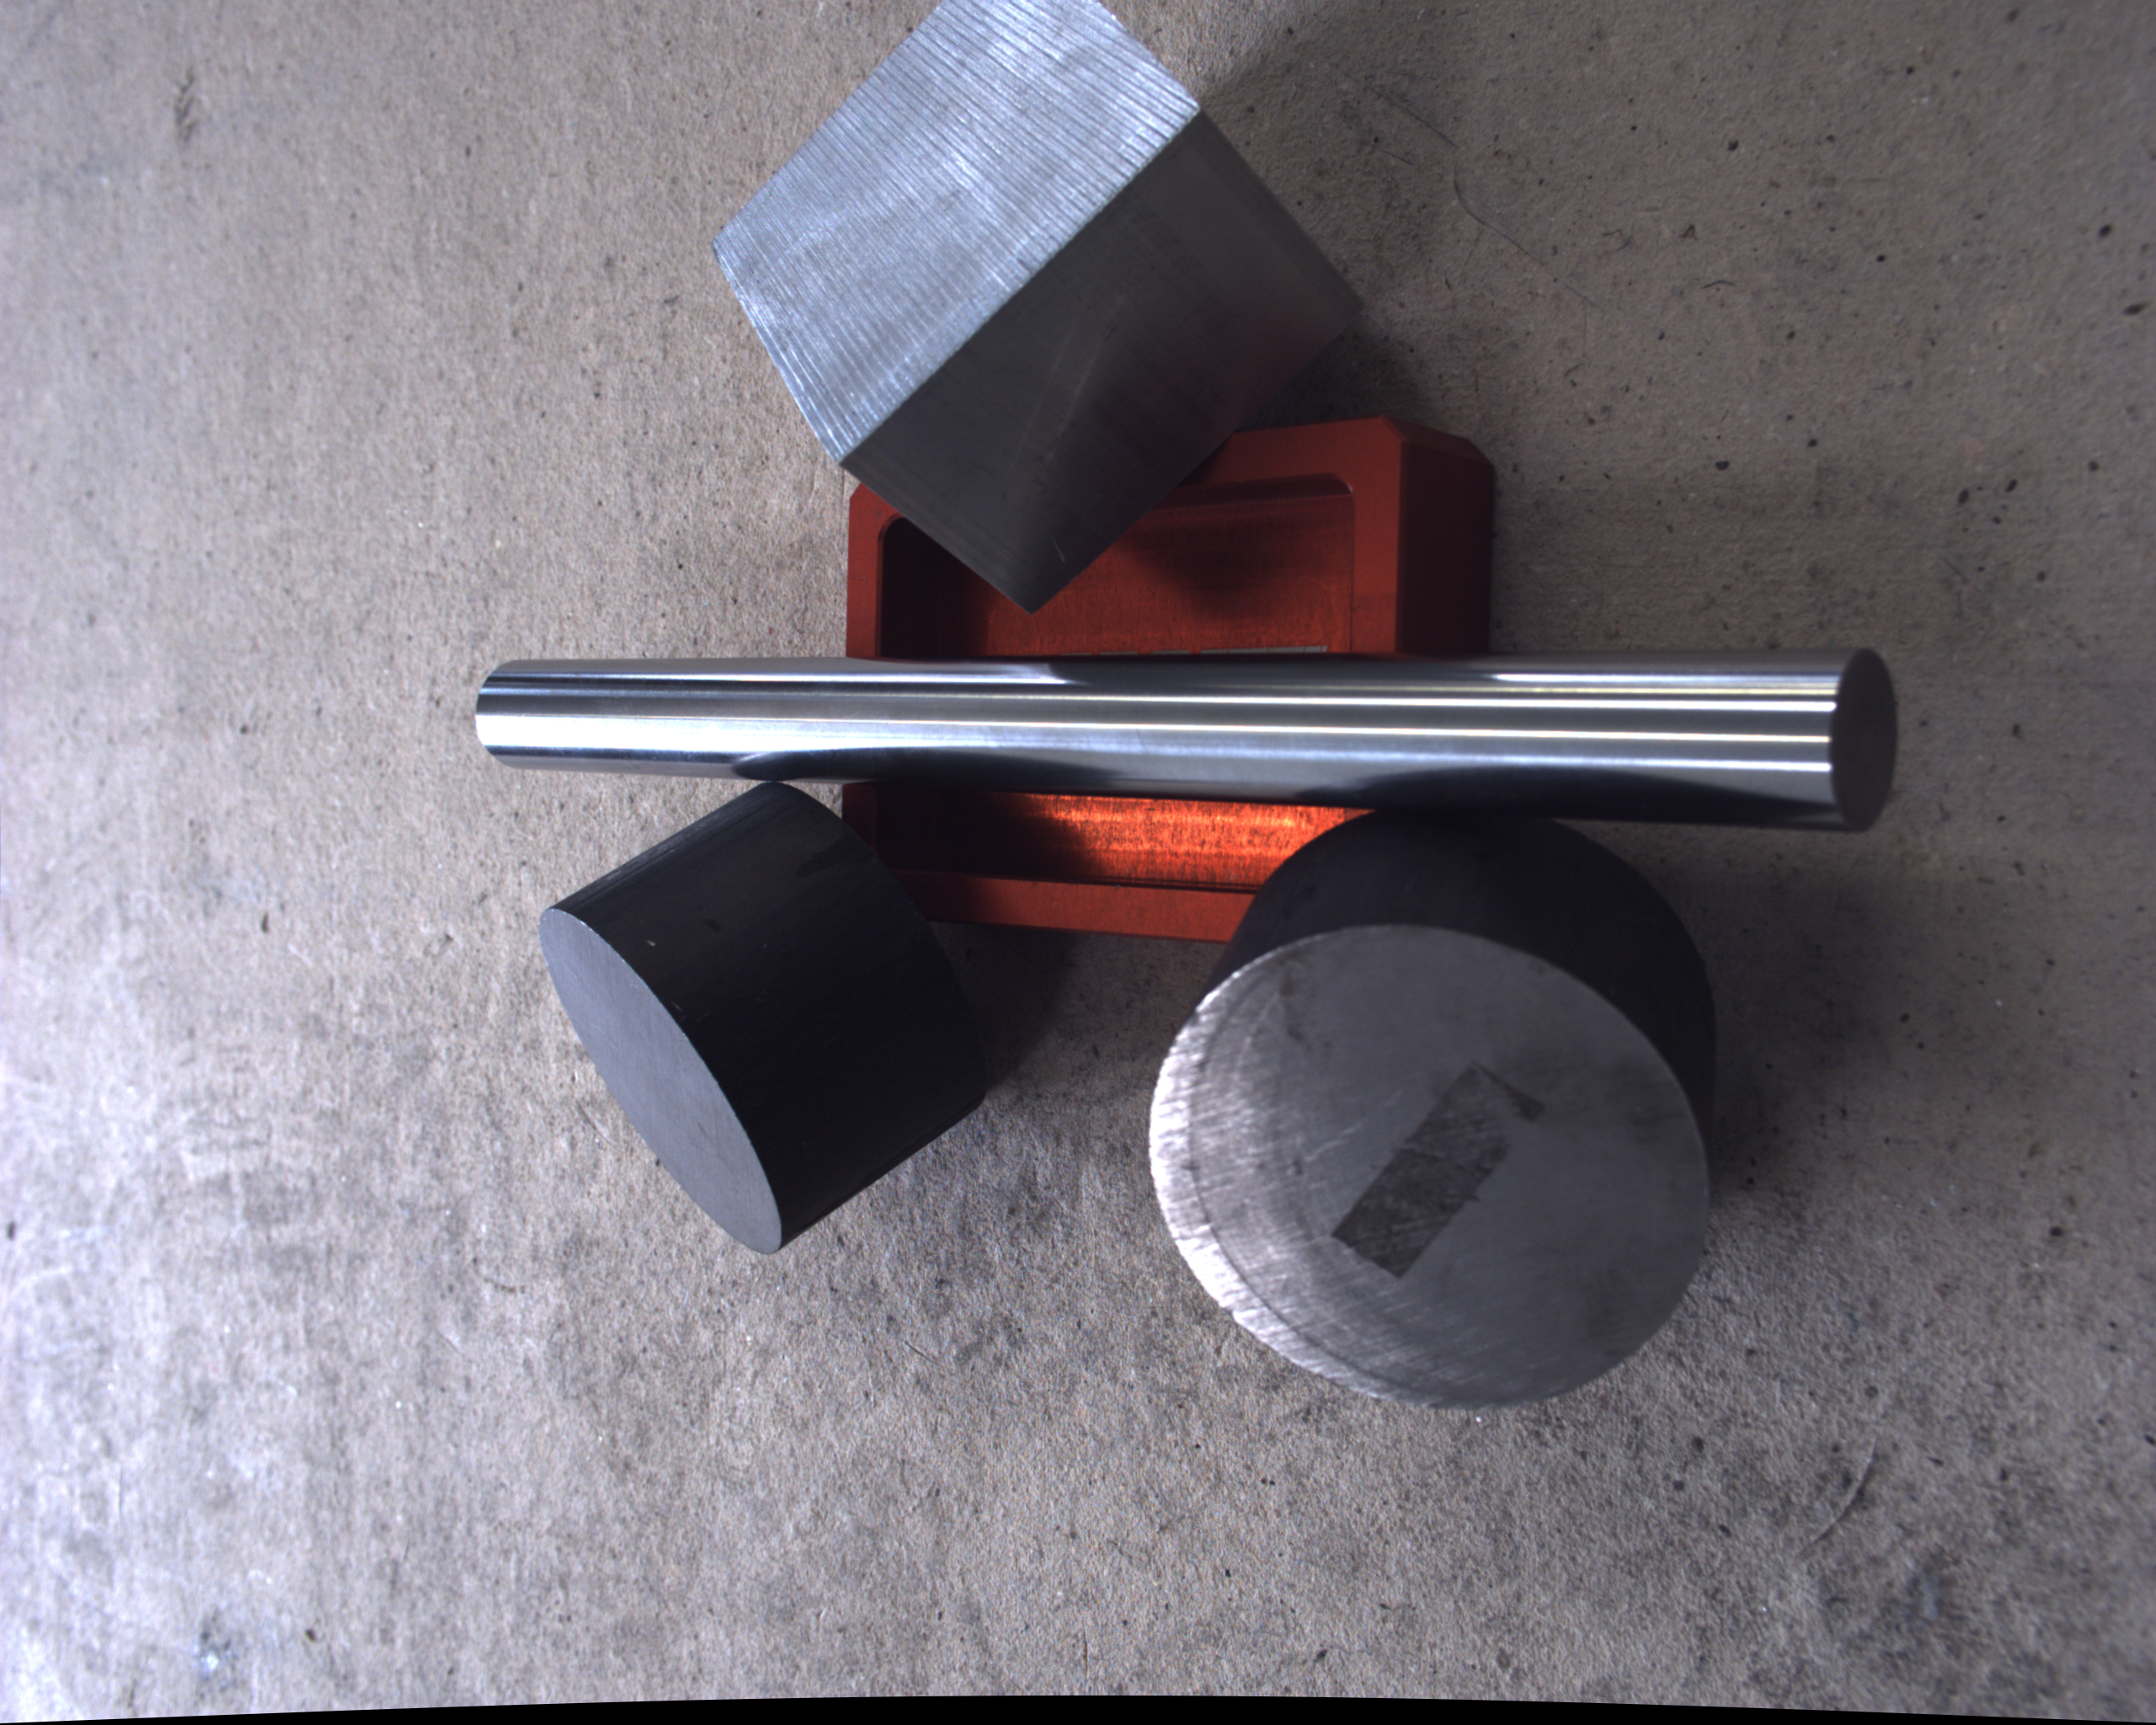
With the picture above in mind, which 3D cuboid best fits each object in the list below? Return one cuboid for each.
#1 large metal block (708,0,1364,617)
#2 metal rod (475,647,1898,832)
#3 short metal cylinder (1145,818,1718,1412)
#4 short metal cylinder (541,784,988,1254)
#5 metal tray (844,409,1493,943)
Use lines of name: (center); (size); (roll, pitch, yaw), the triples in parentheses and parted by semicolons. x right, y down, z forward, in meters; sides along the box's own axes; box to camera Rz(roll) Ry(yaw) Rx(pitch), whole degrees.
large metal block: (-0.010, -0.105, 0.370); (0.080, 0.050, 0.080); (-42, 47, 14)
metal rod: (-0.010, -0.025, 0.375); (0.300, 0.025, 0.025); (4, 93, 39)
short metal cylinder: (0.056, 0.037, 0.323); (0.080, 0.050, 0.079); (7, 114, 16)
short metal cylinder: (-0.063, 0.031, 0.418); (0.080, 0.050, 0.080); (40, 150, 30)
metal tray: (0.012, -0.032, 0.394); (0.130, 0.030, 0.089); (3, 92, 40)
